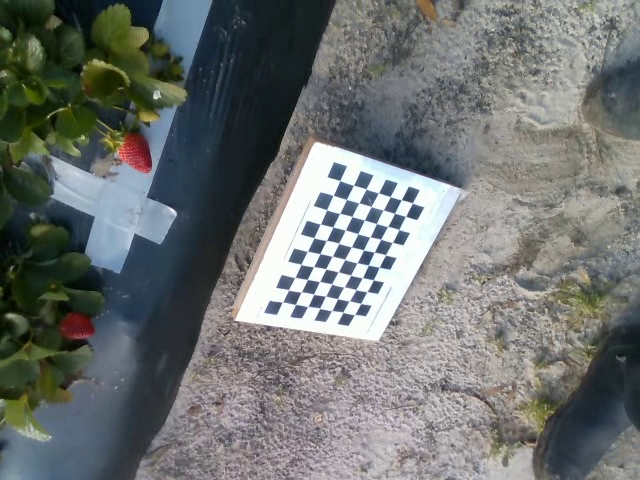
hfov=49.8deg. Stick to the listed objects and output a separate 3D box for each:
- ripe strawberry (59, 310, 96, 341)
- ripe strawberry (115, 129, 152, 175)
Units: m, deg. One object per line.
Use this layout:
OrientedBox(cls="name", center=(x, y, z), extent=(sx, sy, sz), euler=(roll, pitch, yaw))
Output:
OrientedBox(cls="ripe strawberry", center=(-0.152, 0.054, 0.428), extent=(0.022, 0.018, 0.021), euler=(24, 40, -5))
OrientedBox(cls="ripe strawberry", center=(-0.105, -0.049, 0.390), extent=(0.023, 0.026, 0.020), euler=(-40, 2, 35))
